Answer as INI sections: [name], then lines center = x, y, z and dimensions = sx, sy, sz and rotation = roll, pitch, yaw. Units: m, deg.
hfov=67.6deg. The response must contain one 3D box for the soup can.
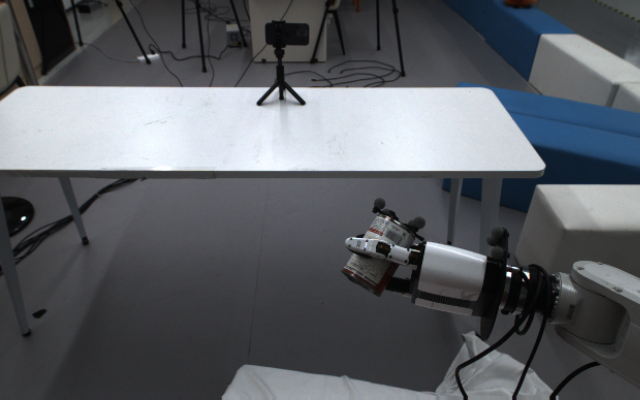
[soup can]
center = 0.086, 0.079, 0.710
dimensions = 0.067, 0.067, 0.101
rotation = 28, 78, 32
